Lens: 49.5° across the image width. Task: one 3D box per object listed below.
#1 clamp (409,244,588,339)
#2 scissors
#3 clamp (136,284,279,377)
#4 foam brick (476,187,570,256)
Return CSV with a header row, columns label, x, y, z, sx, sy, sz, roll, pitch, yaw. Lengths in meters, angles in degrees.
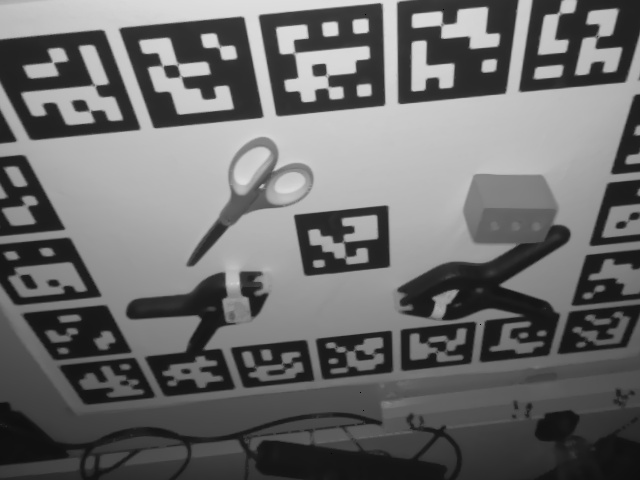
label,x,y,z,sx,sy,sz,roll,pitch,yaw
clamp,0.208,0.076,0.825,0.202,0.037,0.164,-8,136,4
scissors,-0.069,-0.015,0.726,0.088,0.016,0.199,30,126,-19
clamp,-0.118,0.097,0.822,0.163,0.037,0.122,-27,122,18
foam brick,0.213,-0.020,0.729,0.078,0.051,0.052,-3,132,-8
